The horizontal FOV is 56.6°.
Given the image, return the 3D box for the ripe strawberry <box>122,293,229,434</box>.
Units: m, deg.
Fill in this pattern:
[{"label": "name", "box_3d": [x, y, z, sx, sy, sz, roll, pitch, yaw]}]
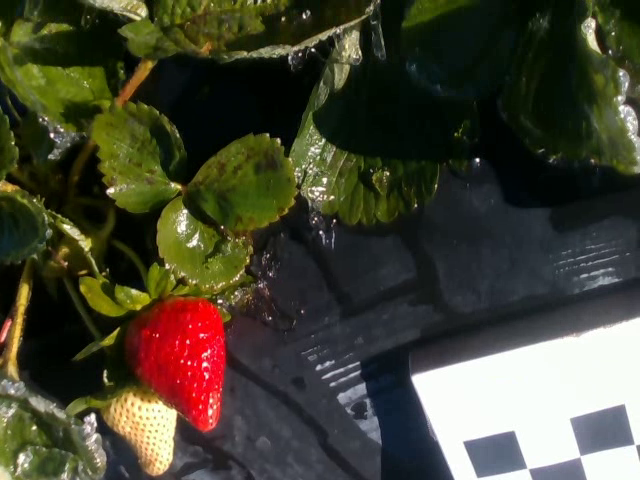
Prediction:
[{"label": "ripe strawberry", "box_3d": [-0.052, 0.055, 0.250, 0.042, 0.061, 0.046, -32, -22, 20]}]
